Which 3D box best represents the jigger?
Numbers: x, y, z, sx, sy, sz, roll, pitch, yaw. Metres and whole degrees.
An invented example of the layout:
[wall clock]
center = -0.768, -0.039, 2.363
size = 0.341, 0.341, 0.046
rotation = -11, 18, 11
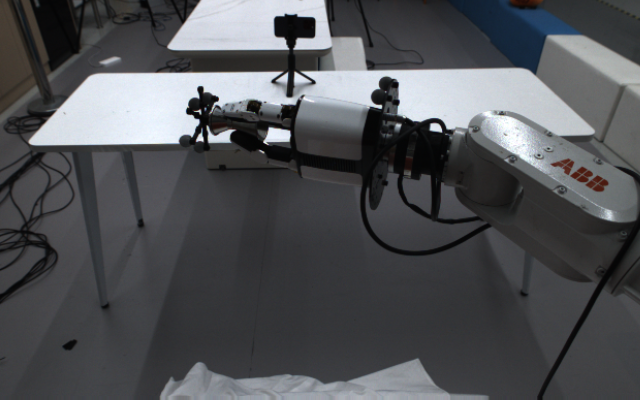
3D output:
[jigger]
center = -0.101, -0.106, 0.637
size = 0.071, 0.043, 0.043
rotation = 6, 35, 13
